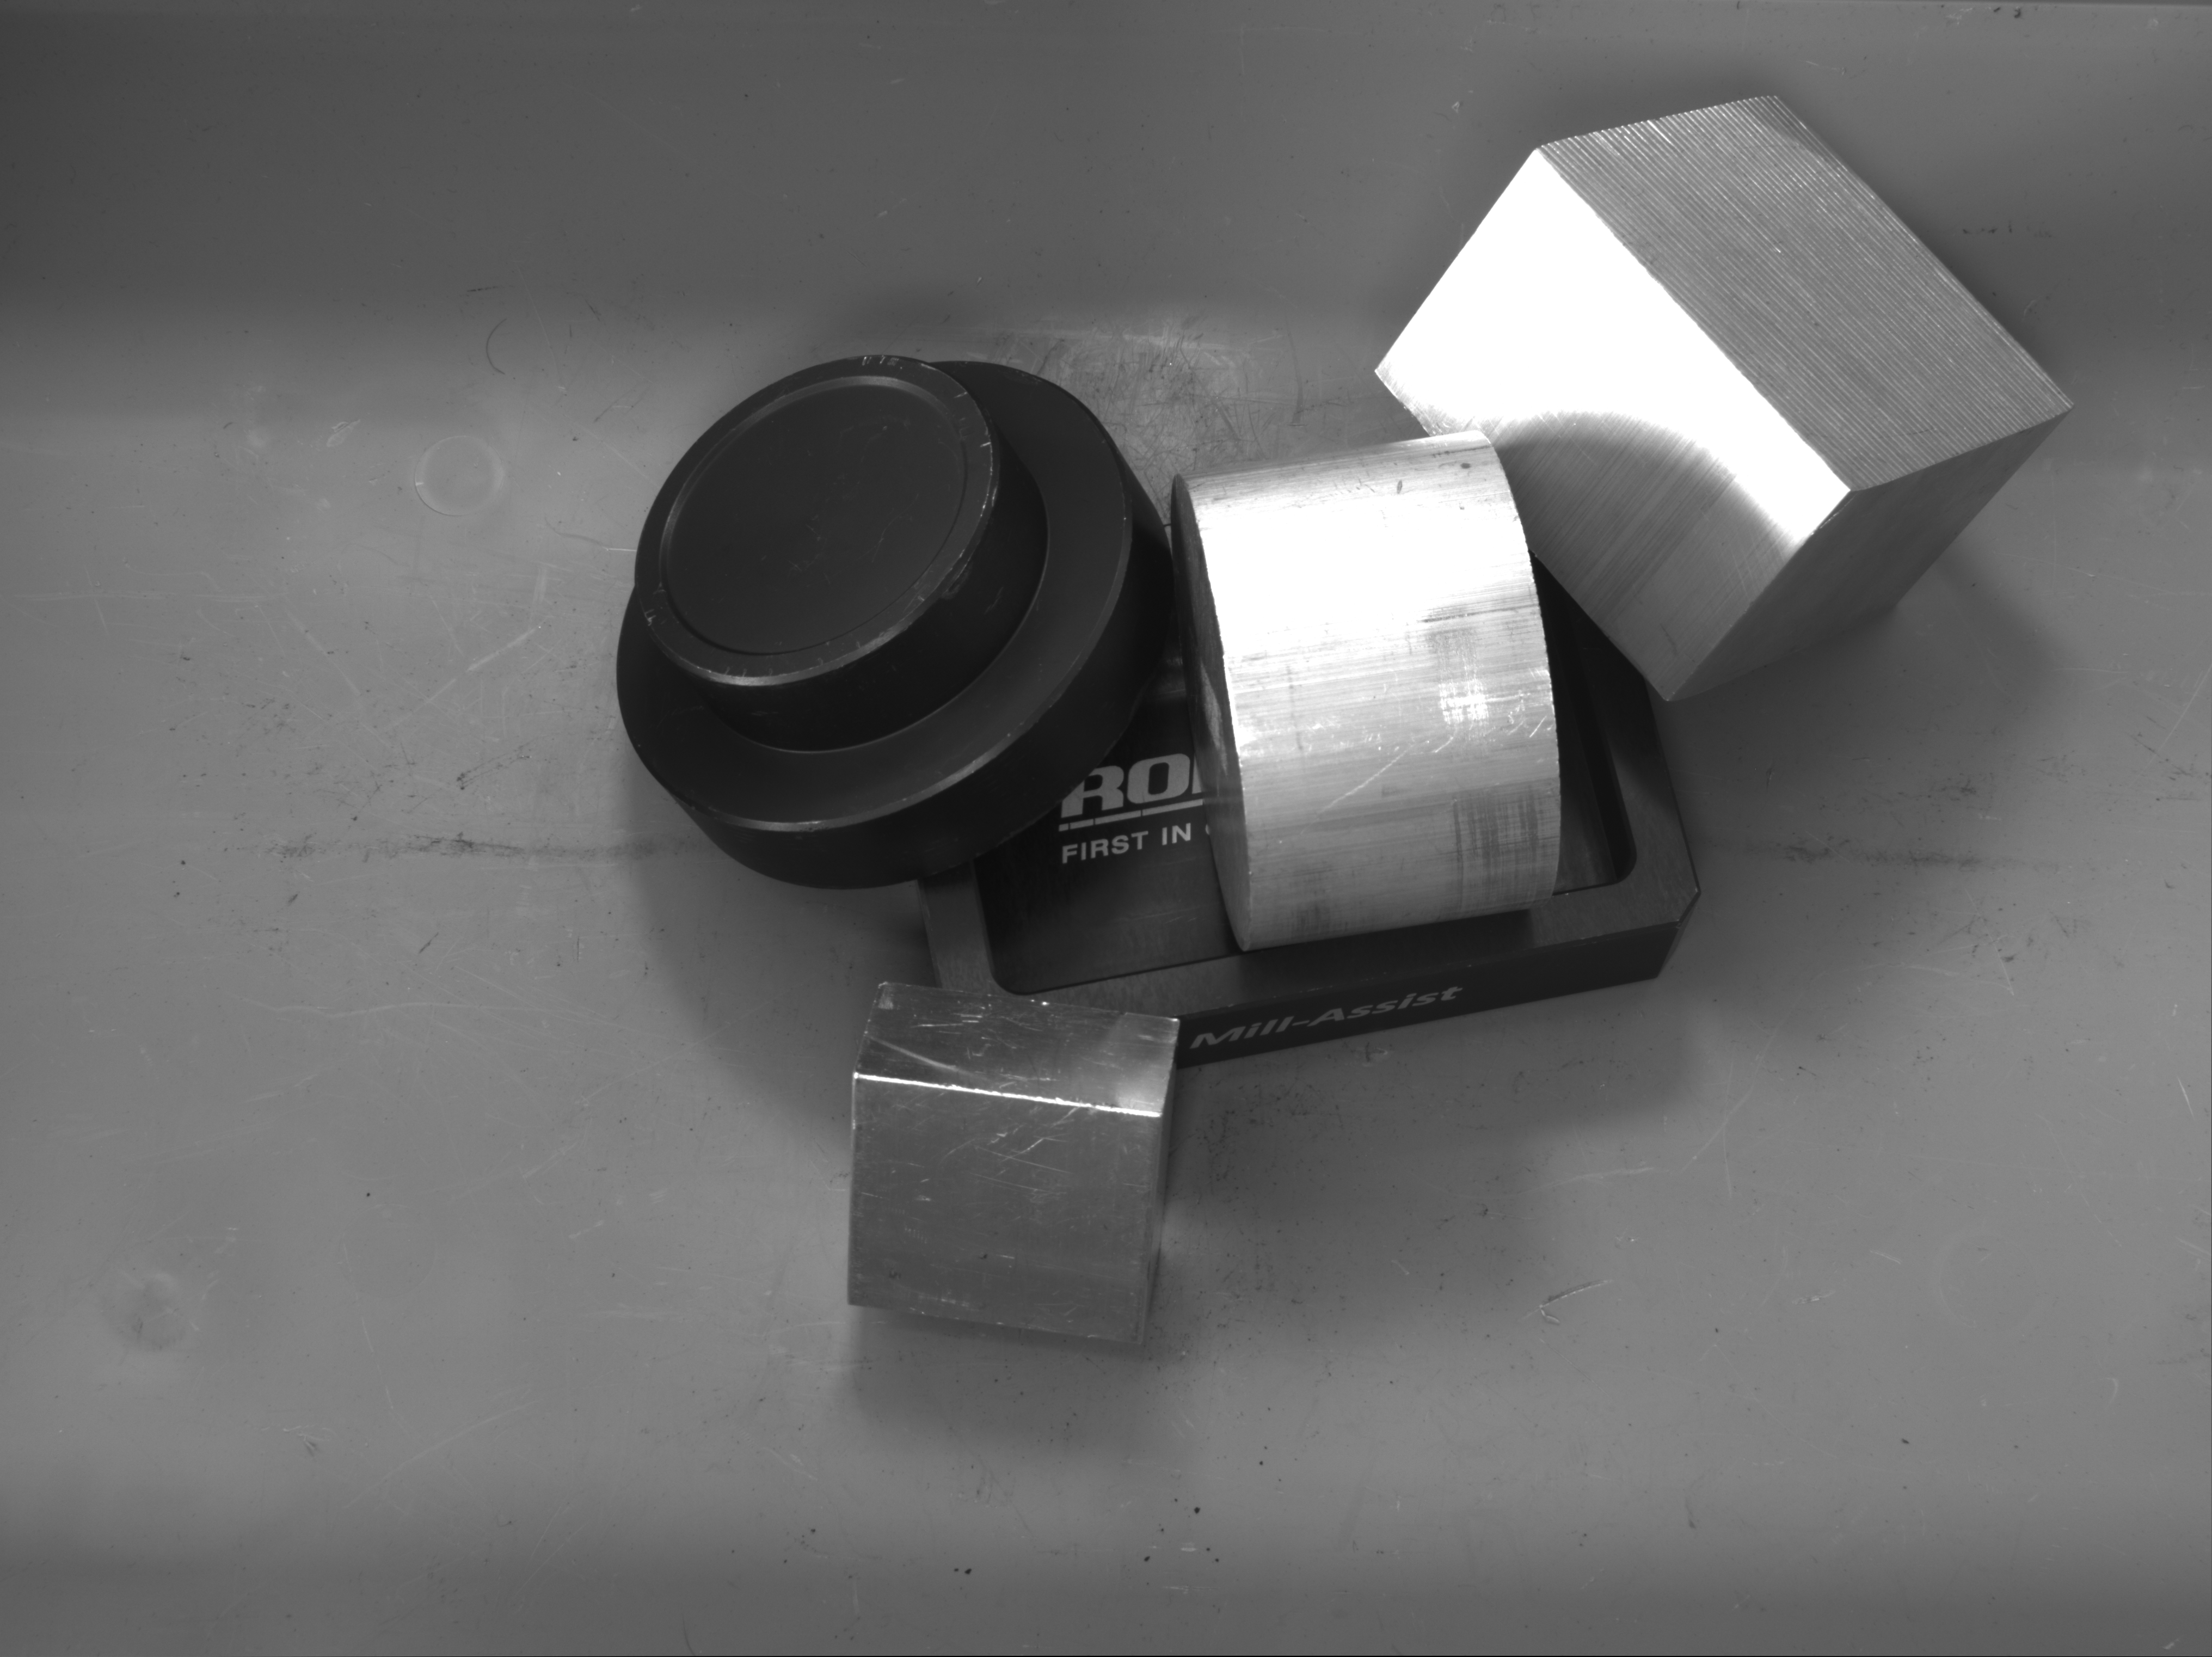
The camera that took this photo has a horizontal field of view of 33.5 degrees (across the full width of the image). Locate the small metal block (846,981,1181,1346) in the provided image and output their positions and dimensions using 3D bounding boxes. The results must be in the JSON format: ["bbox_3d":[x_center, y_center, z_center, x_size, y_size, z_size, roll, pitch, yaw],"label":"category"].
[{"bbox_3d":[-0.016,0.056,0.608,0.050,0.050,0.025,7,36,4],"label":"small metal block"}]

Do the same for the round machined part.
[{"bbox_3d":[-0.041,-0.042,0.630,0.098,0.042,0.098,-14,52,19],"label":"round machined part"}]

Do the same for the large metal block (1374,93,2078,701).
[{"bbox_3d":[0.108,-0.077,0.638,0.080,0.050,0.080,-23,67,-47],"label":"large metal block"}]

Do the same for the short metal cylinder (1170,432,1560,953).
[{"bbox_3d":[0.042,-0.023,0.610,0.050,0.080,0.080,-8,70,-3],"label":"short metal cylinder"}]

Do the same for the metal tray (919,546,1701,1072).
[{"bbox_3d":[0.030,-0.008,0.646,0.130,0.030,0.090,-11,70,-4],"label":"metal tray"}]
